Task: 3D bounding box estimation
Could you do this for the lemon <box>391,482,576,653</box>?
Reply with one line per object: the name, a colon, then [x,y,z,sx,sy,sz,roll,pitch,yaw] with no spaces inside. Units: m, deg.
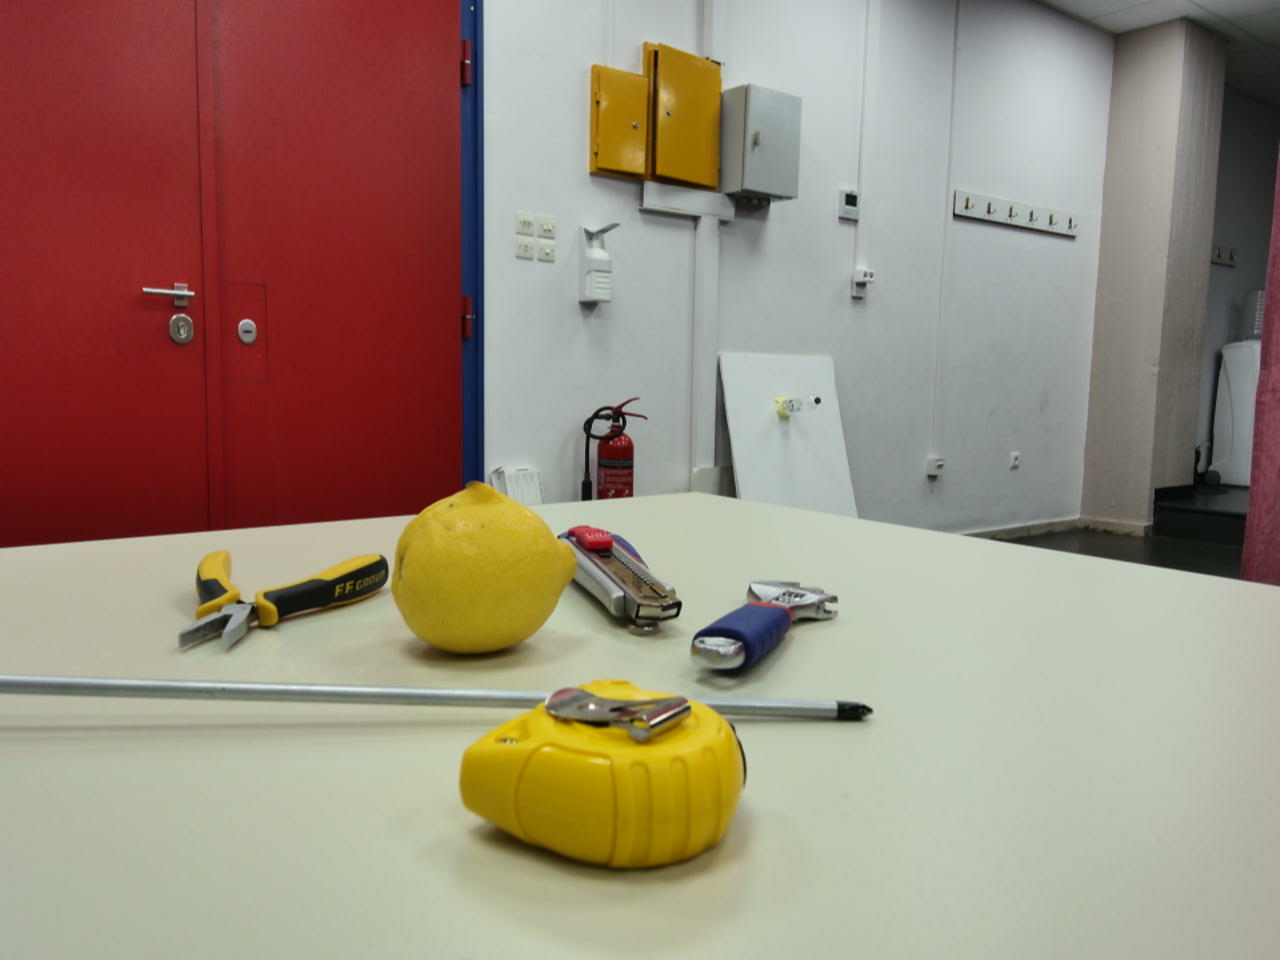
lemon: [-0.069,0.036,0.421,0.071,0.071,0.070,1,4,18]
